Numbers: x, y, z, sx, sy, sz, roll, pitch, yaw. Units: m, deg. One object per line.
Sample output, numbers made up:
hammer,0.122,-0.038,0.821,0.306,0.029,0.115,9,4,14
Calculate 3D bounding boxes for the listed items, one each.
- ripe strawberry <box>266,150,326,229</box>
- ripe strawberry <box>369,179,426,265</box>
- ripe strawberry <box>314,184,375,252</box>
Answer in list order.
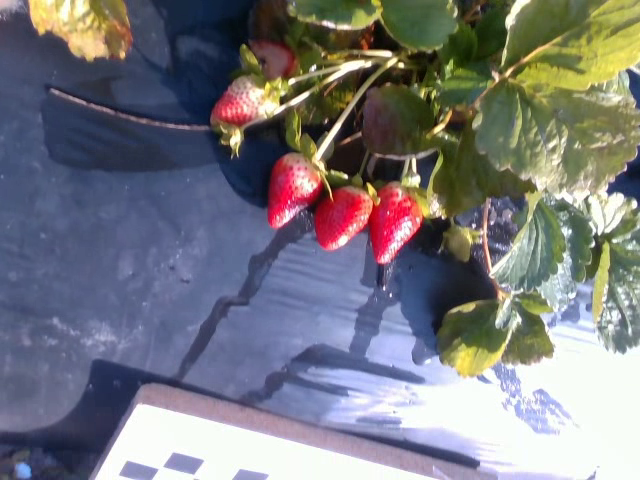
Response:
ripe strawberry,-0.015,-0.024,0.319,0.031,0.045,0.023,21,17,-16
ripe strawberry,0.037,-0.003,0.332,0.035,0.041,0.034,18,-18,-13
ripe strawberry,0.012,-0.011,0.321,0.030,0.039,0.036,31,-35,-21
